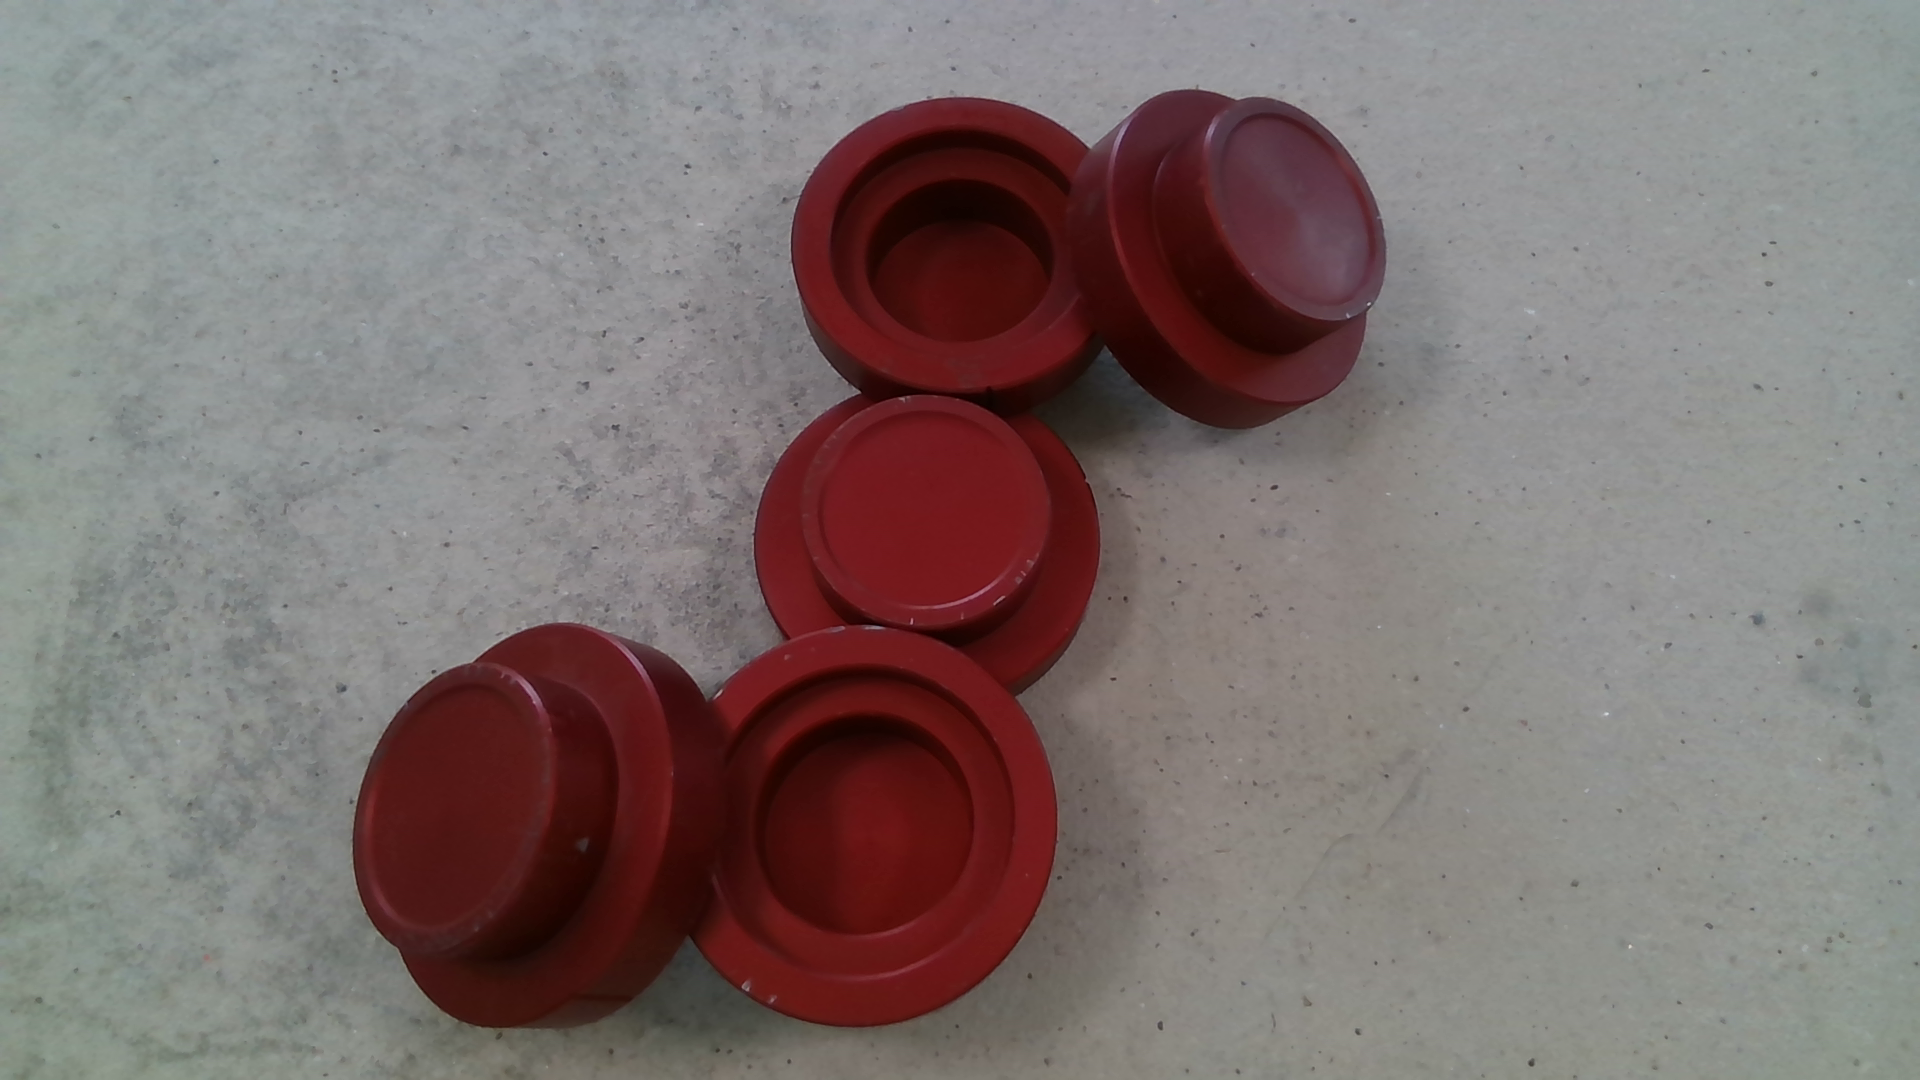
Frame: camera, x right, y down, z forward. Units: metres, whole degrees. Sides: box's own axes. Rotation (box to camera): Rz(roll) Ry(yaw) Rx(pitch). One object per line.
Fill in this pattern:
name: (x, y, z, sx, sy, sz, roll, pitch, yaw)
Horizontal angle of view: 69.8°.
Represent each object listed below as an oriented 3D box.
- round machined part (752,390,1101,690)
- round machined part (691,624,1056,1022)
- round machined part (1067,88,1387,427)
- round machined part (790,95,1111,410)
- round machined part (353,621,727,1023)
round machined part: (-0.009, -0.002, 0.386, 0.098, 0.042, 0.098, 1, 69, -2)
round machined part: (-0.025, 0.075, 0.360, 0.098, 0.042, 0.098, 0, 70, 0)
round machined part: (0.082, -0.085, 0.393, 0.098, 0.042, 0.098, 11, 69, -29)
round machined part: (0.000, -0.081, 0.415, 0.098, 0.042, 0.098, 0, 70, 0)
round machined part: (-0.109, 0.067, 0.339, 0.098, 0.042, 0.098, -11, 67, 27)
